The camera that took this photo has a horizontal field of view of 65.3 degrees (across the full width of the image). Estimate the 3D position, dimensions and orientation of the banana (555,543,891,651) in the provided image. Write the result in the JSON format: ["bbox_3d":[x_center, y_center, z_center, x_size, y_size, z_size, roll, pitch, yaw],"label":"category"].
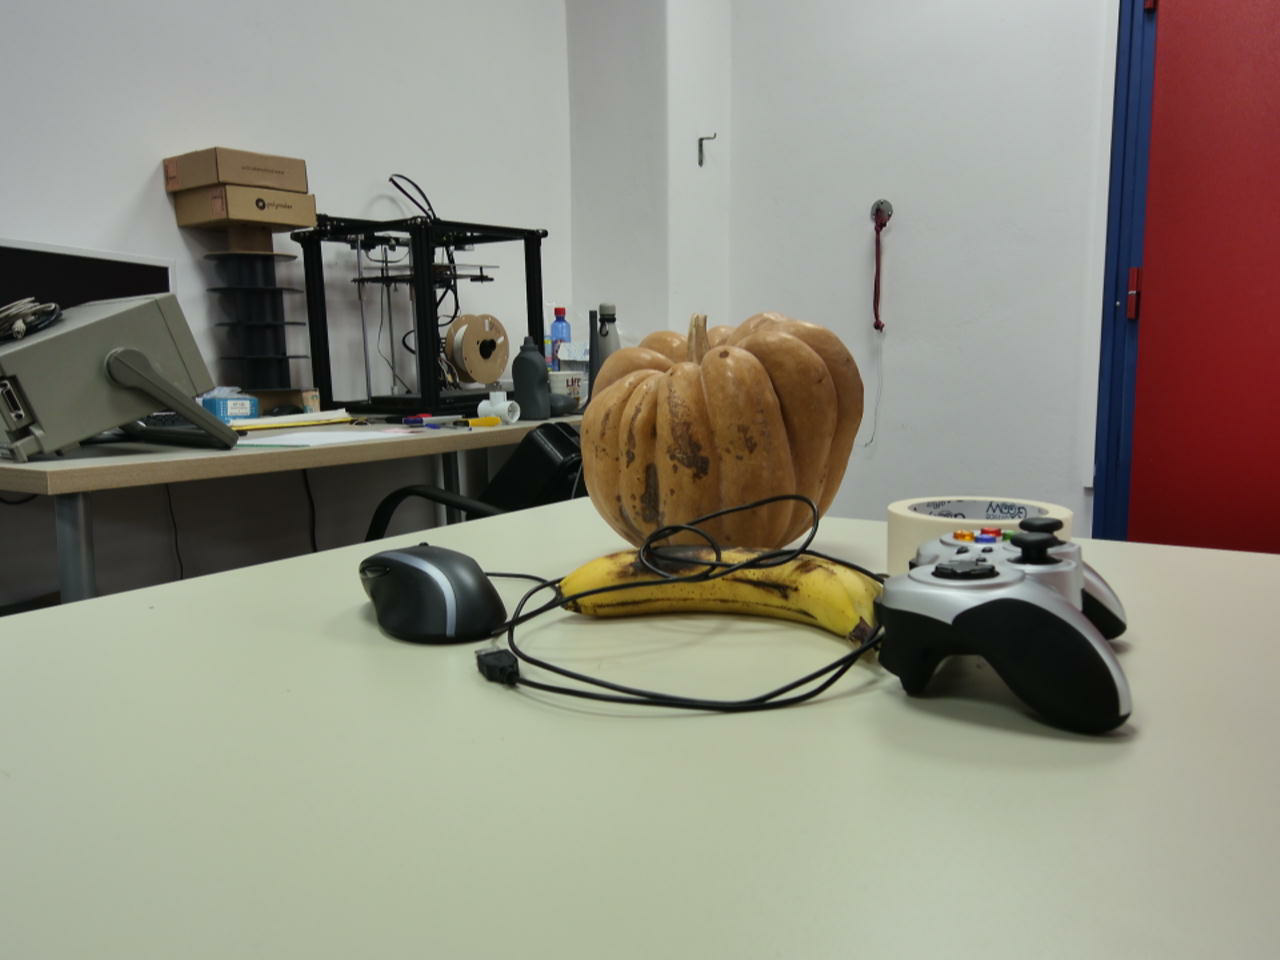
[{"bbox_3d":[0.055,0.060,0.541,0.187,0.039,0.094,4,6,34],"label":"banana"}]
